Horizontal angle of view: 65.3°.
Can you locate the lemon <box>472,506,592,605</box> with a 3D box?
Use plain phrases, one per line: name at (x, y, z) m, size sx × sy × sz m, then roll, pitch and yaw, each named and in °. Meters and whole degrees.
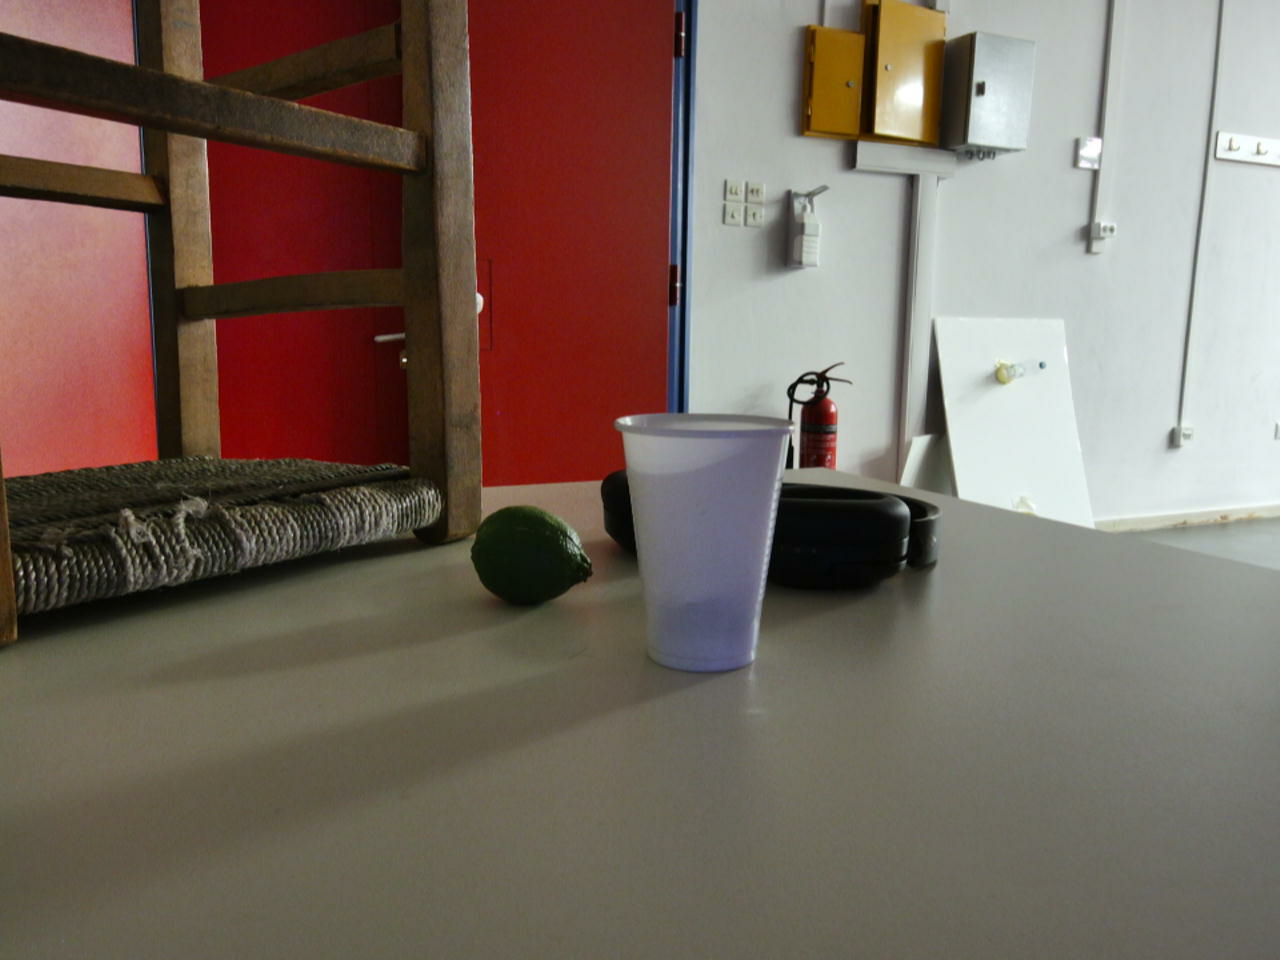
lemon at (-0.059, 0.039, 0.525) m, size 0.057 × 0.051 × 0.054 m, roll -3°, pitch 7°, yaw -28°
